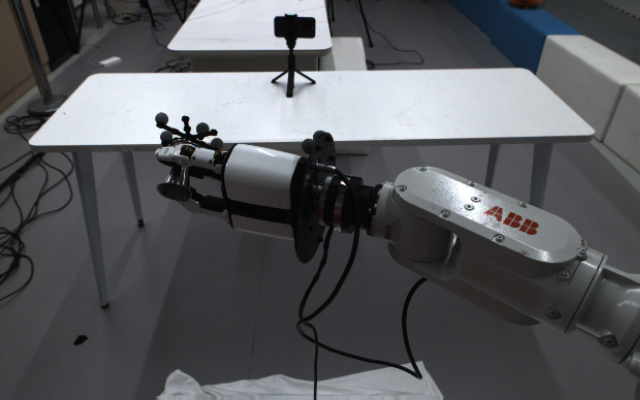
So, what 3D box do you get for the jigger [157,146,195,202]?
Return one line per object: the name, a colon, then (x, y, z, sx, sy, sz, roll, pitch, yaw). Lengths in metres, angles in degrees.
jigger: (-0.181, -0.040, 0.623, 0.043, 0.043, 0.071, 4, 61, 2)
